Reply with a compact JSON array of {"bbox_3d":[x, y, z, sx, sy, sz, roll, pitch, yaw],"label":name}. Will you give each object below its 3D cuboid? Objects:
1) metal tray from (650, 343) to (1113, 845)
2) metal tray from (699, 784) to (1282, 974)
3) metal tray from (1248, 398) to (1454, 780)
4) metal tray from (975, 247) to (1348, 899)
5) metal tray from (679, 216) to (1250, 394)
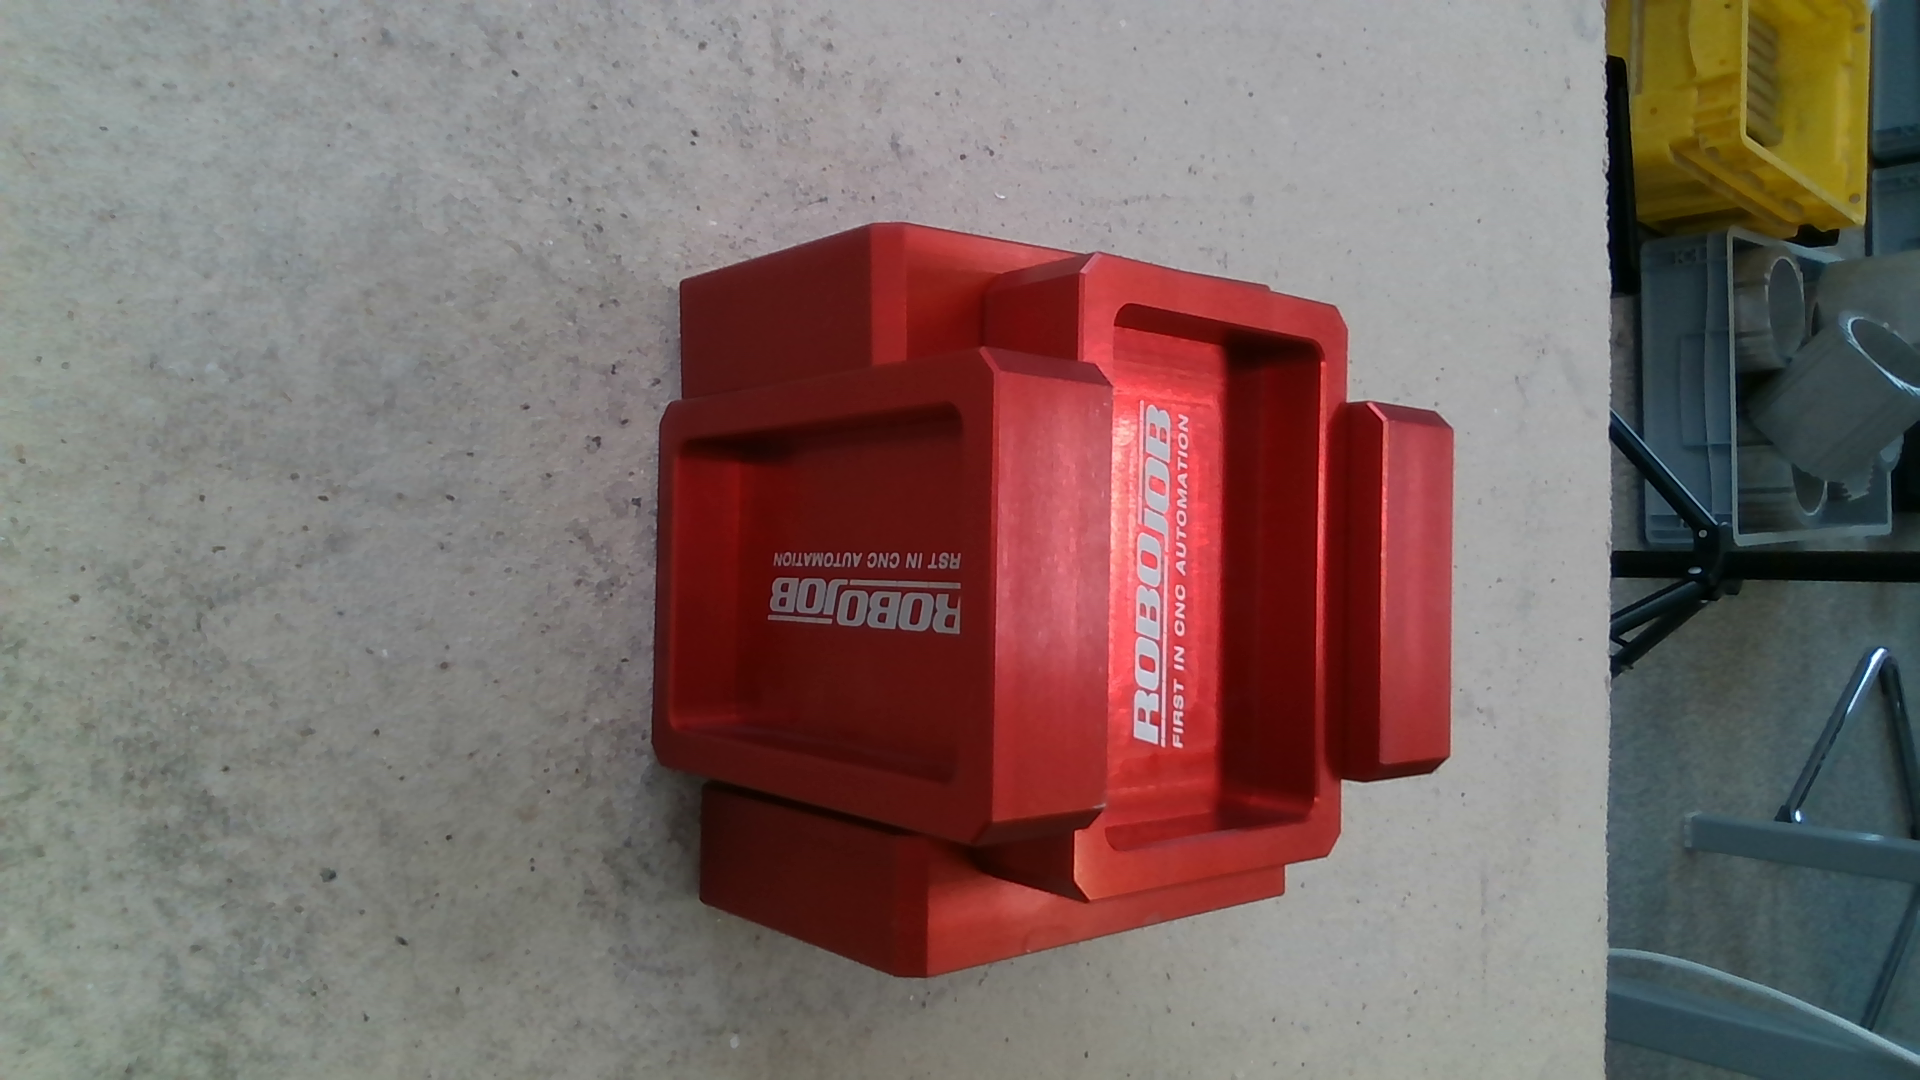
[{"bbox_3d":[-0.024,0.010,0.302,0.030,0.130,0.090,2,89,-40],"label":"metal tray"},{"bbox_3d":[0.010,0.077,0.357,0.130,0.090,0.030,2,88,-41],"label":"metal tray"},{"bbox_3d":[0.068,0.012,0.379,0.030,0.130,0.090,2,89,-40],"label":"metal tray"},{"bbox_3d":[0.048,0.008,0.311,0.090,0.030,0.130,2,89,-40],"label":"metal tray"},{"bbox_3d":[0.006,-0.052,0.353,0.130,0.090,0.030,-1,91,-40],"label":"metal tray"}]
